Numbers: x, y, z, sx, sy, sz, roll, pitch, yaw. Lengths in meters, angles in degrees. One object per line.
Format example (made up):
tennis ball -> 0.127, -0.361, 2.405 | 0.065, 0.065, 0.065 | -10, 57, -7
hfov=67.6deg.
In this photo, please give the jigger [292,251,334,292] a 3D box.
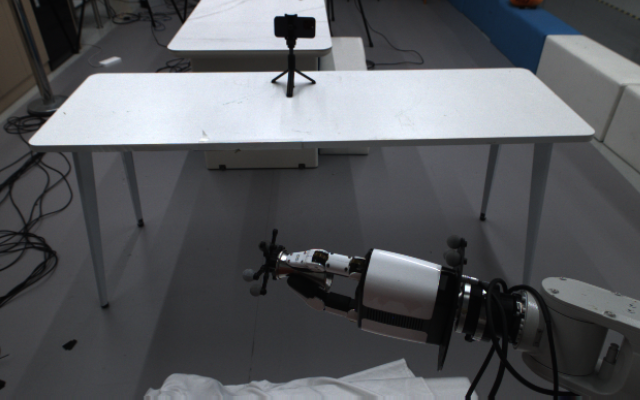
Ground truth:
jigger -> -0.012, 0.086, 0.625 | 0.071, 0.043, 0.043 | 9, 35, 16
